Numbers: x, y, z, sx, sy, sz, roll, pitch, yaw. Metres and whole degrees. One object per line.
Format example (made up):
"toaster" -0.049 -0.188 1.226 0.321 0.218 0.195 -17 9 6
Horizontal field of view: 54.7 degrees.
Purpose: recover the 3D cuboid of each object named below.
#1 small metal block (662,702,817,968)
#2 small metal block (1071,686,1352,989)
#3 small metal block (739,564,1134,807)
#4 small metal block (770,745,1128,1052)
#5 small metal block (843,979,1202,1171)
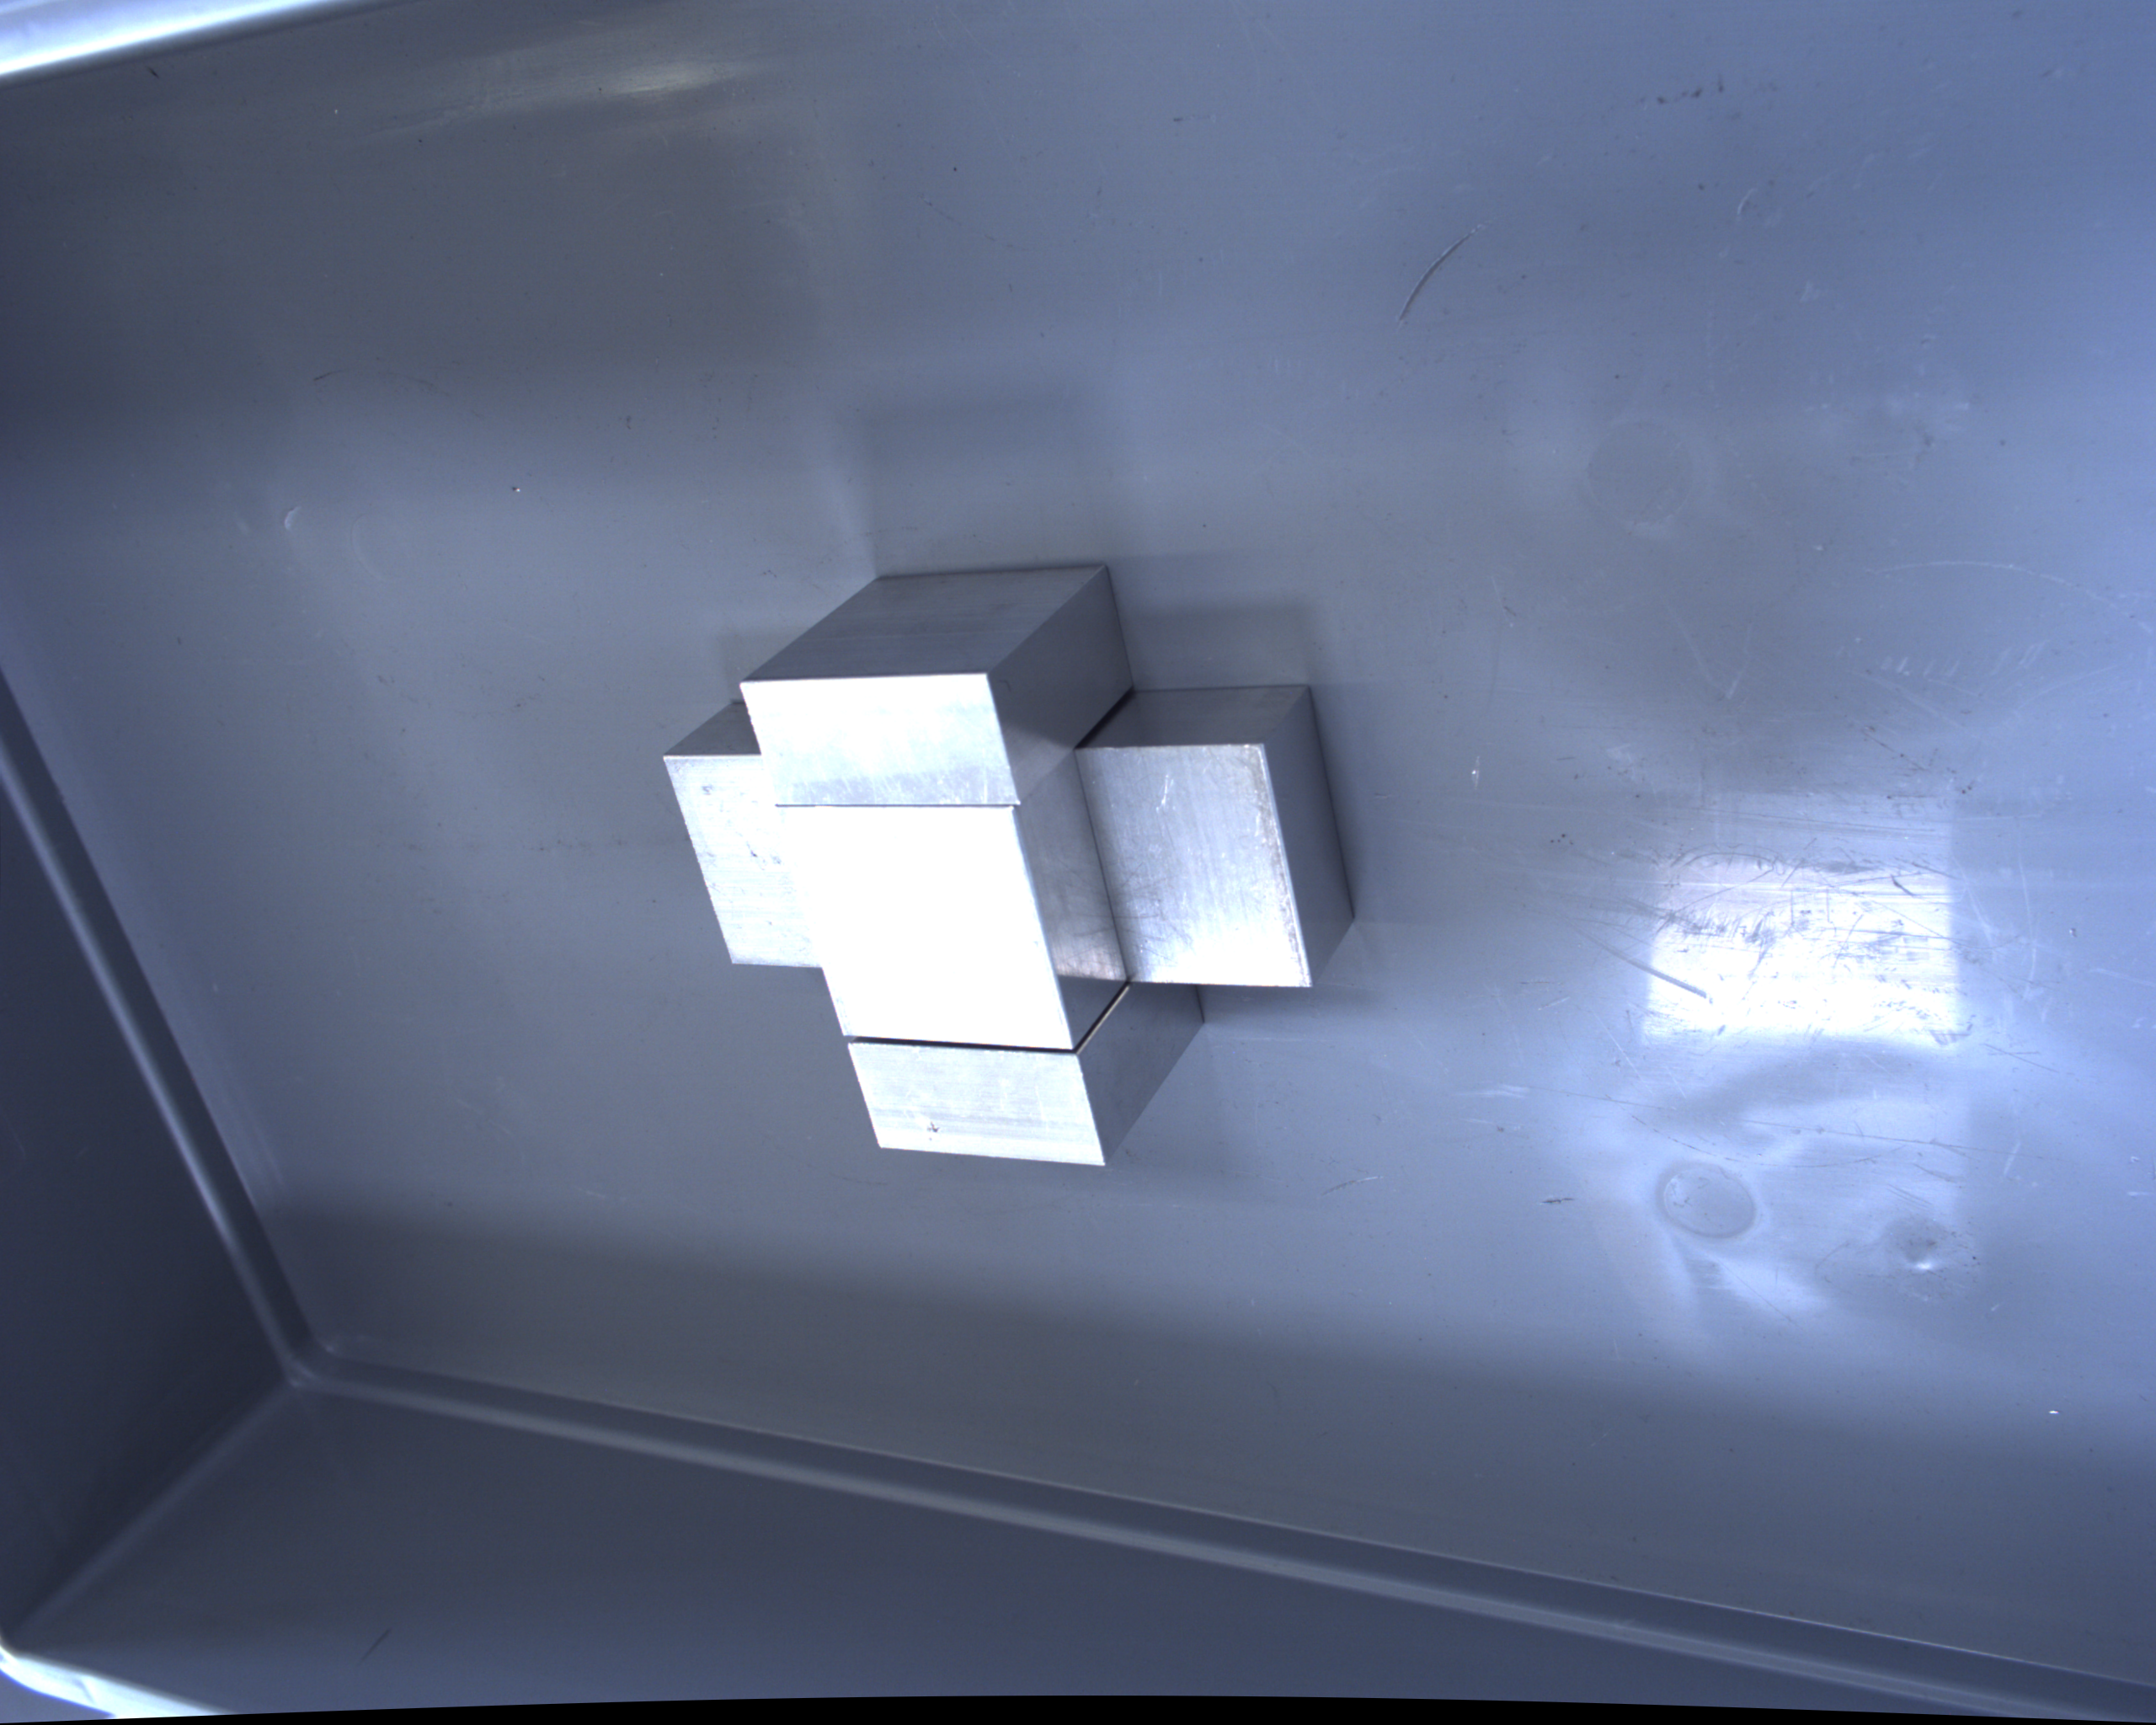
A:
"small metal block" -0.051 -0.006 0.429 0.050 0.025 0.050 1 119 28
"small metal block" 0.020 -0.005 0.393 0.050 0.025 0.050 1 119 27
"small metal block" -0.025 -0.033 0.382 0.050 0.050 0.025 1 119 27
"small metal block" -0.023 0.006 0.389 0.050 0.025 0.050 1 119 27
"small metal block" -0.010 0.035 0.415 0.050 0.050 0.025 1 119 27
